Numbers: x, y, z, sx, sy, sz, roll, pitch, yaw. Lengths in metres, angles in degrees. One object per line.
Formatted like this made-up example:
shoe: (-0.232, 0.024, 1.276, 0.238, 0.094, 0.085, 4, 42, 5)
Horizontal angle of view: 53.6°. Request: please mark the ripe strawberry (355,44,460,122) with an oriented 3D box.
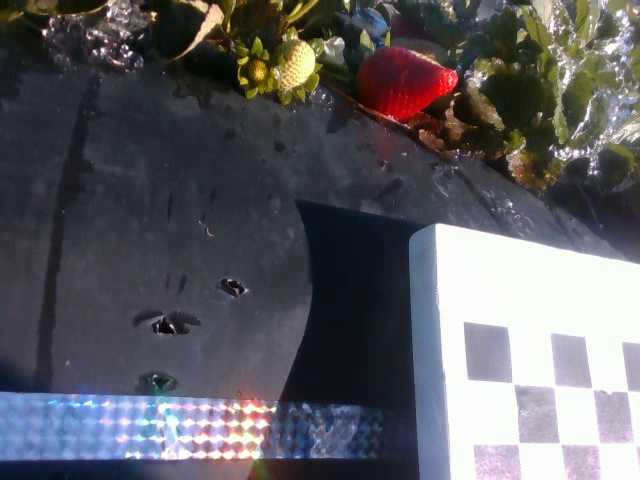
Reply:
ripe strawberry: (0.043, -0.074, 0.296, 0.053, 0.042, 0.040, 12, 33, 45)
